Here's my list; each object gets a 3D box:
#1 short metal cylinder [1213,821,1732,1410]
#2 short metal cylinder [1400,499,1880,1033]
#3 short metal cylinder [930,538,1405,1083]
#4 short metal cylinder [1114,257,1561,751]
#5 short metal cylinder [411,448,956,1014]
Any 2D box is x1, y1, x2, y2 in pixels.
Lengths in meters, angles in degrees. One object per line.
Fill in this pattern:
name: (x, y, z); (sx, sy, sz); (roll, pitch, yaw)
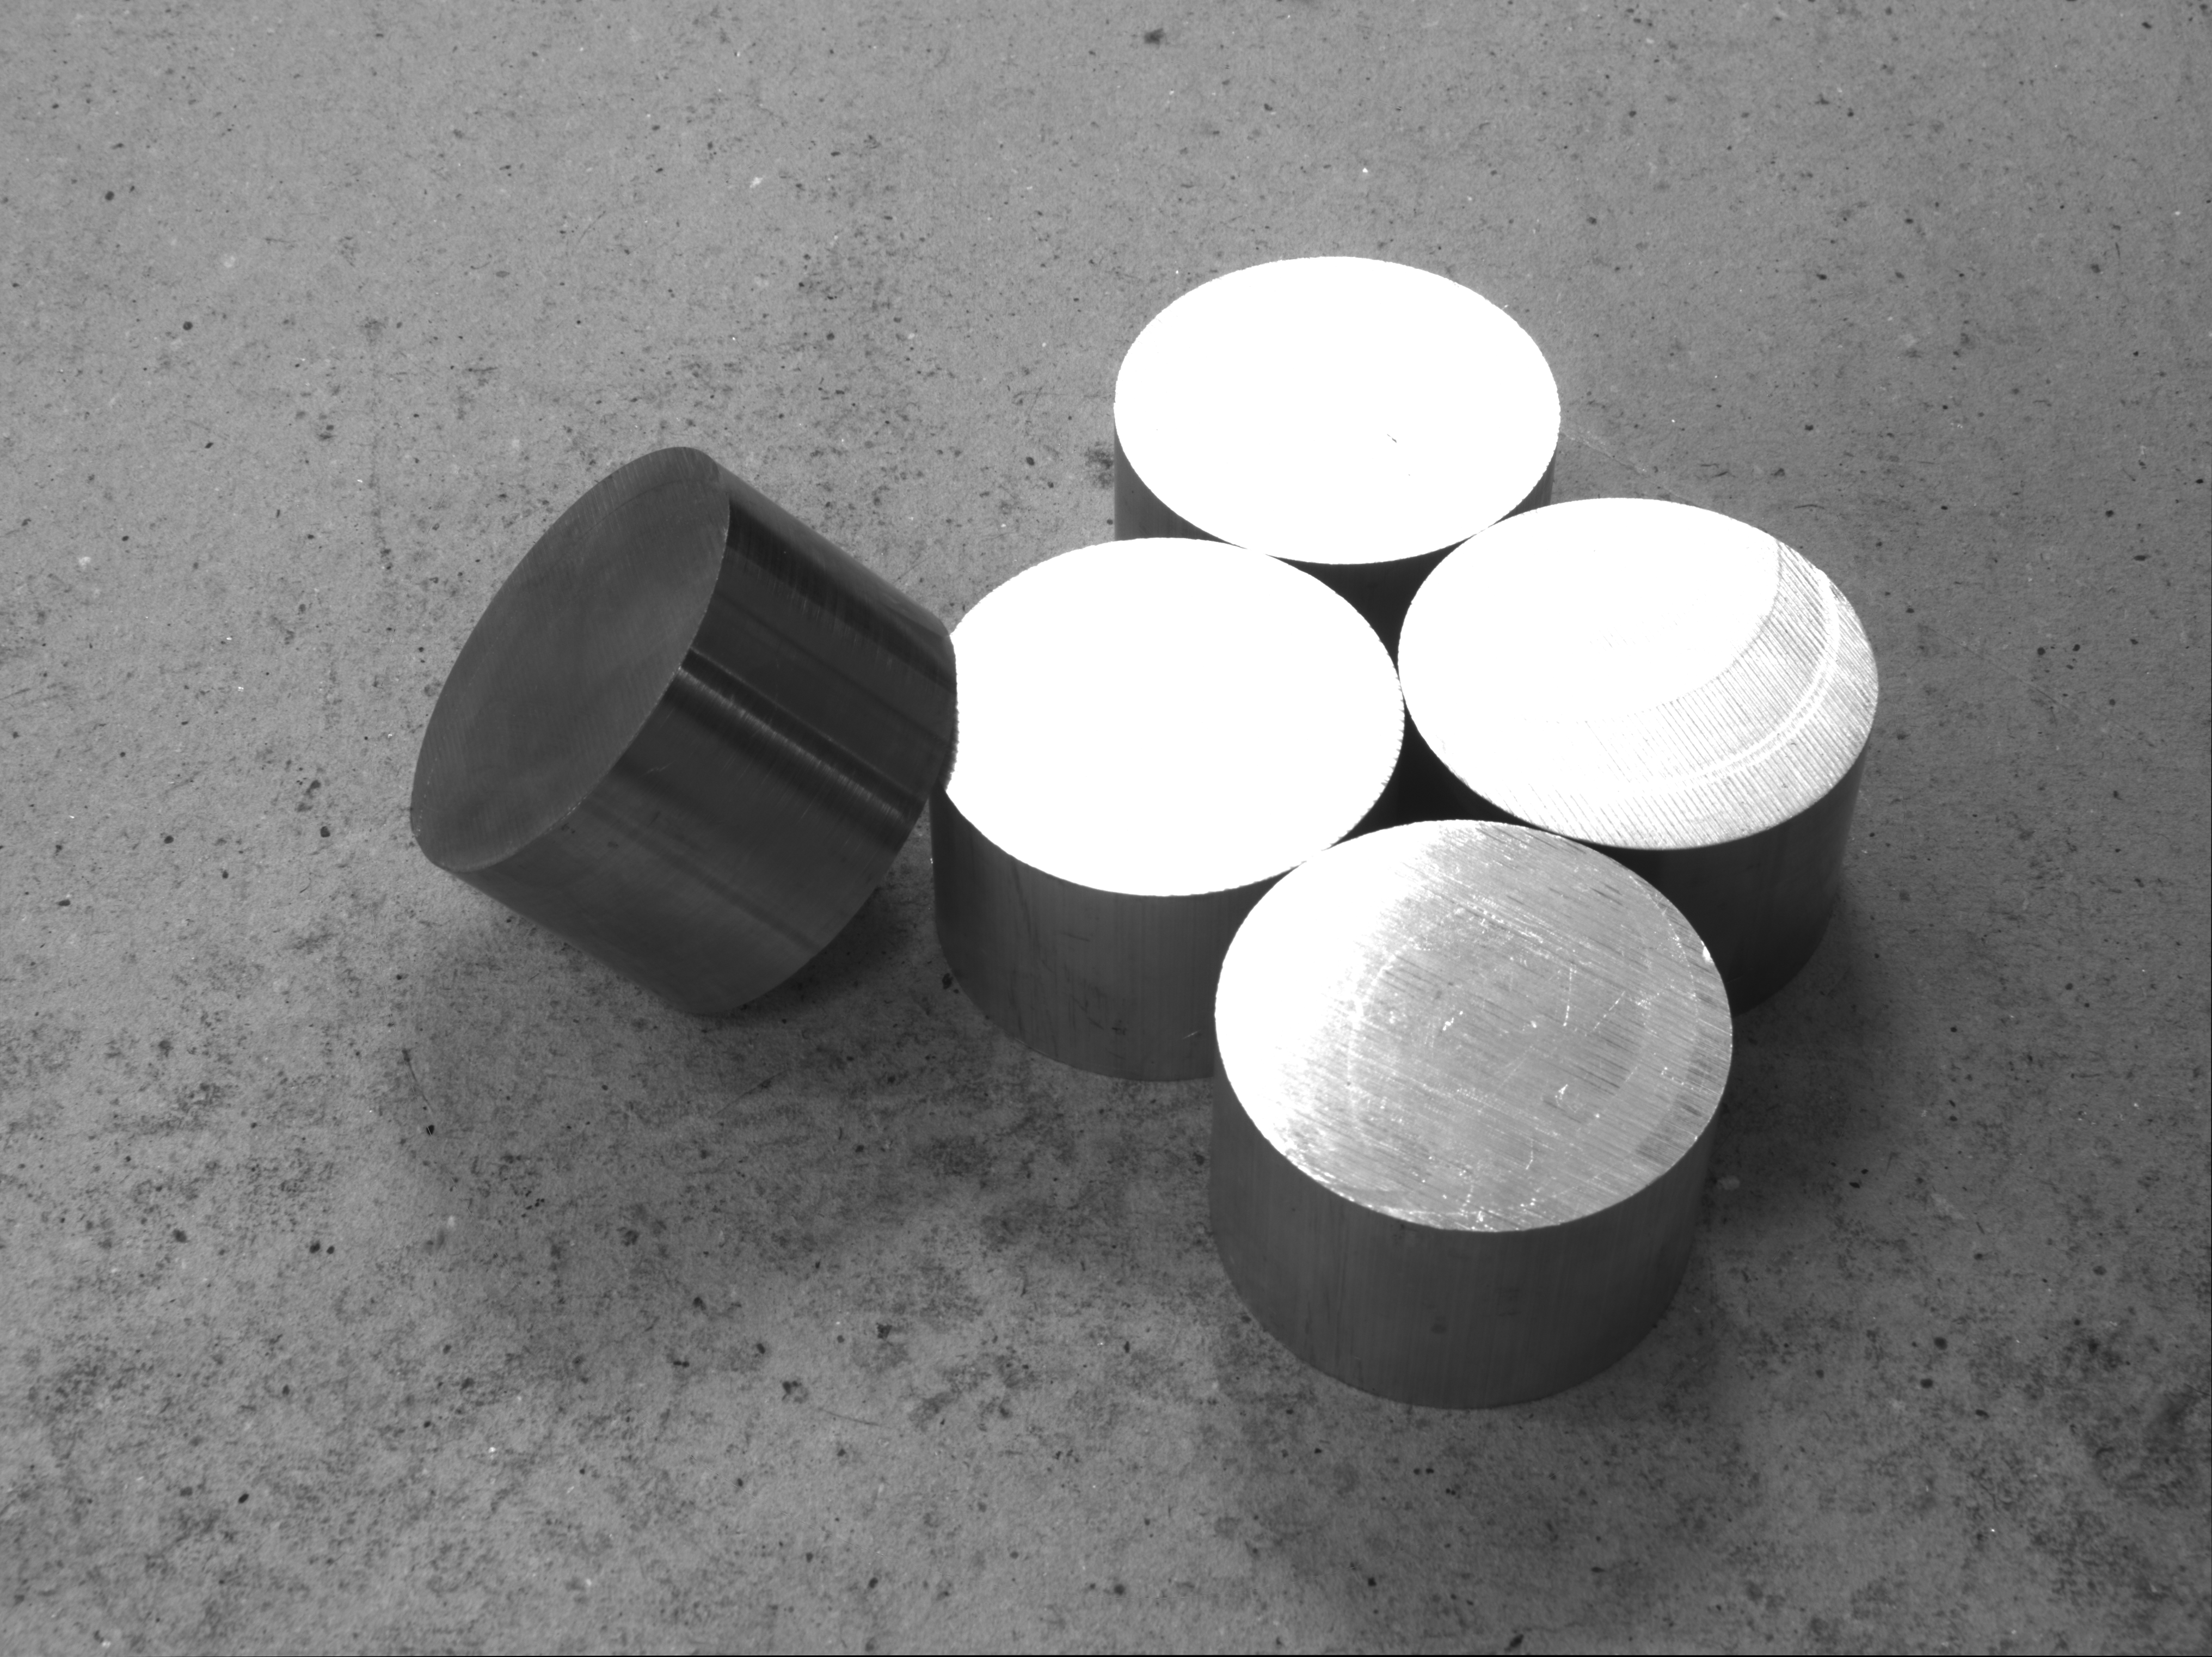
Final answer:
short metal cylinder: (0.057, 0.045, 0.587); (0.080, 0.050, 0.080); (0, 50, 0)
short metal cylinder: (0.090, -0.011, 0.635); (0.080, 0.050, 0.080); (0, 50, 0)
short metal cylinder: (0.010, -0.004, 0.629); (0.080, 0.050, 0.080); (0, 50, 0)
short metal cylinder: (0.042, -0.060, 0.676); (0.080, 0.050, 0.080); (0, 50, 0)
short metal cylinder: (-0.071, -0.016, 0.612); (0.080, 0.050, 0.080); (-33, 38, 31)
